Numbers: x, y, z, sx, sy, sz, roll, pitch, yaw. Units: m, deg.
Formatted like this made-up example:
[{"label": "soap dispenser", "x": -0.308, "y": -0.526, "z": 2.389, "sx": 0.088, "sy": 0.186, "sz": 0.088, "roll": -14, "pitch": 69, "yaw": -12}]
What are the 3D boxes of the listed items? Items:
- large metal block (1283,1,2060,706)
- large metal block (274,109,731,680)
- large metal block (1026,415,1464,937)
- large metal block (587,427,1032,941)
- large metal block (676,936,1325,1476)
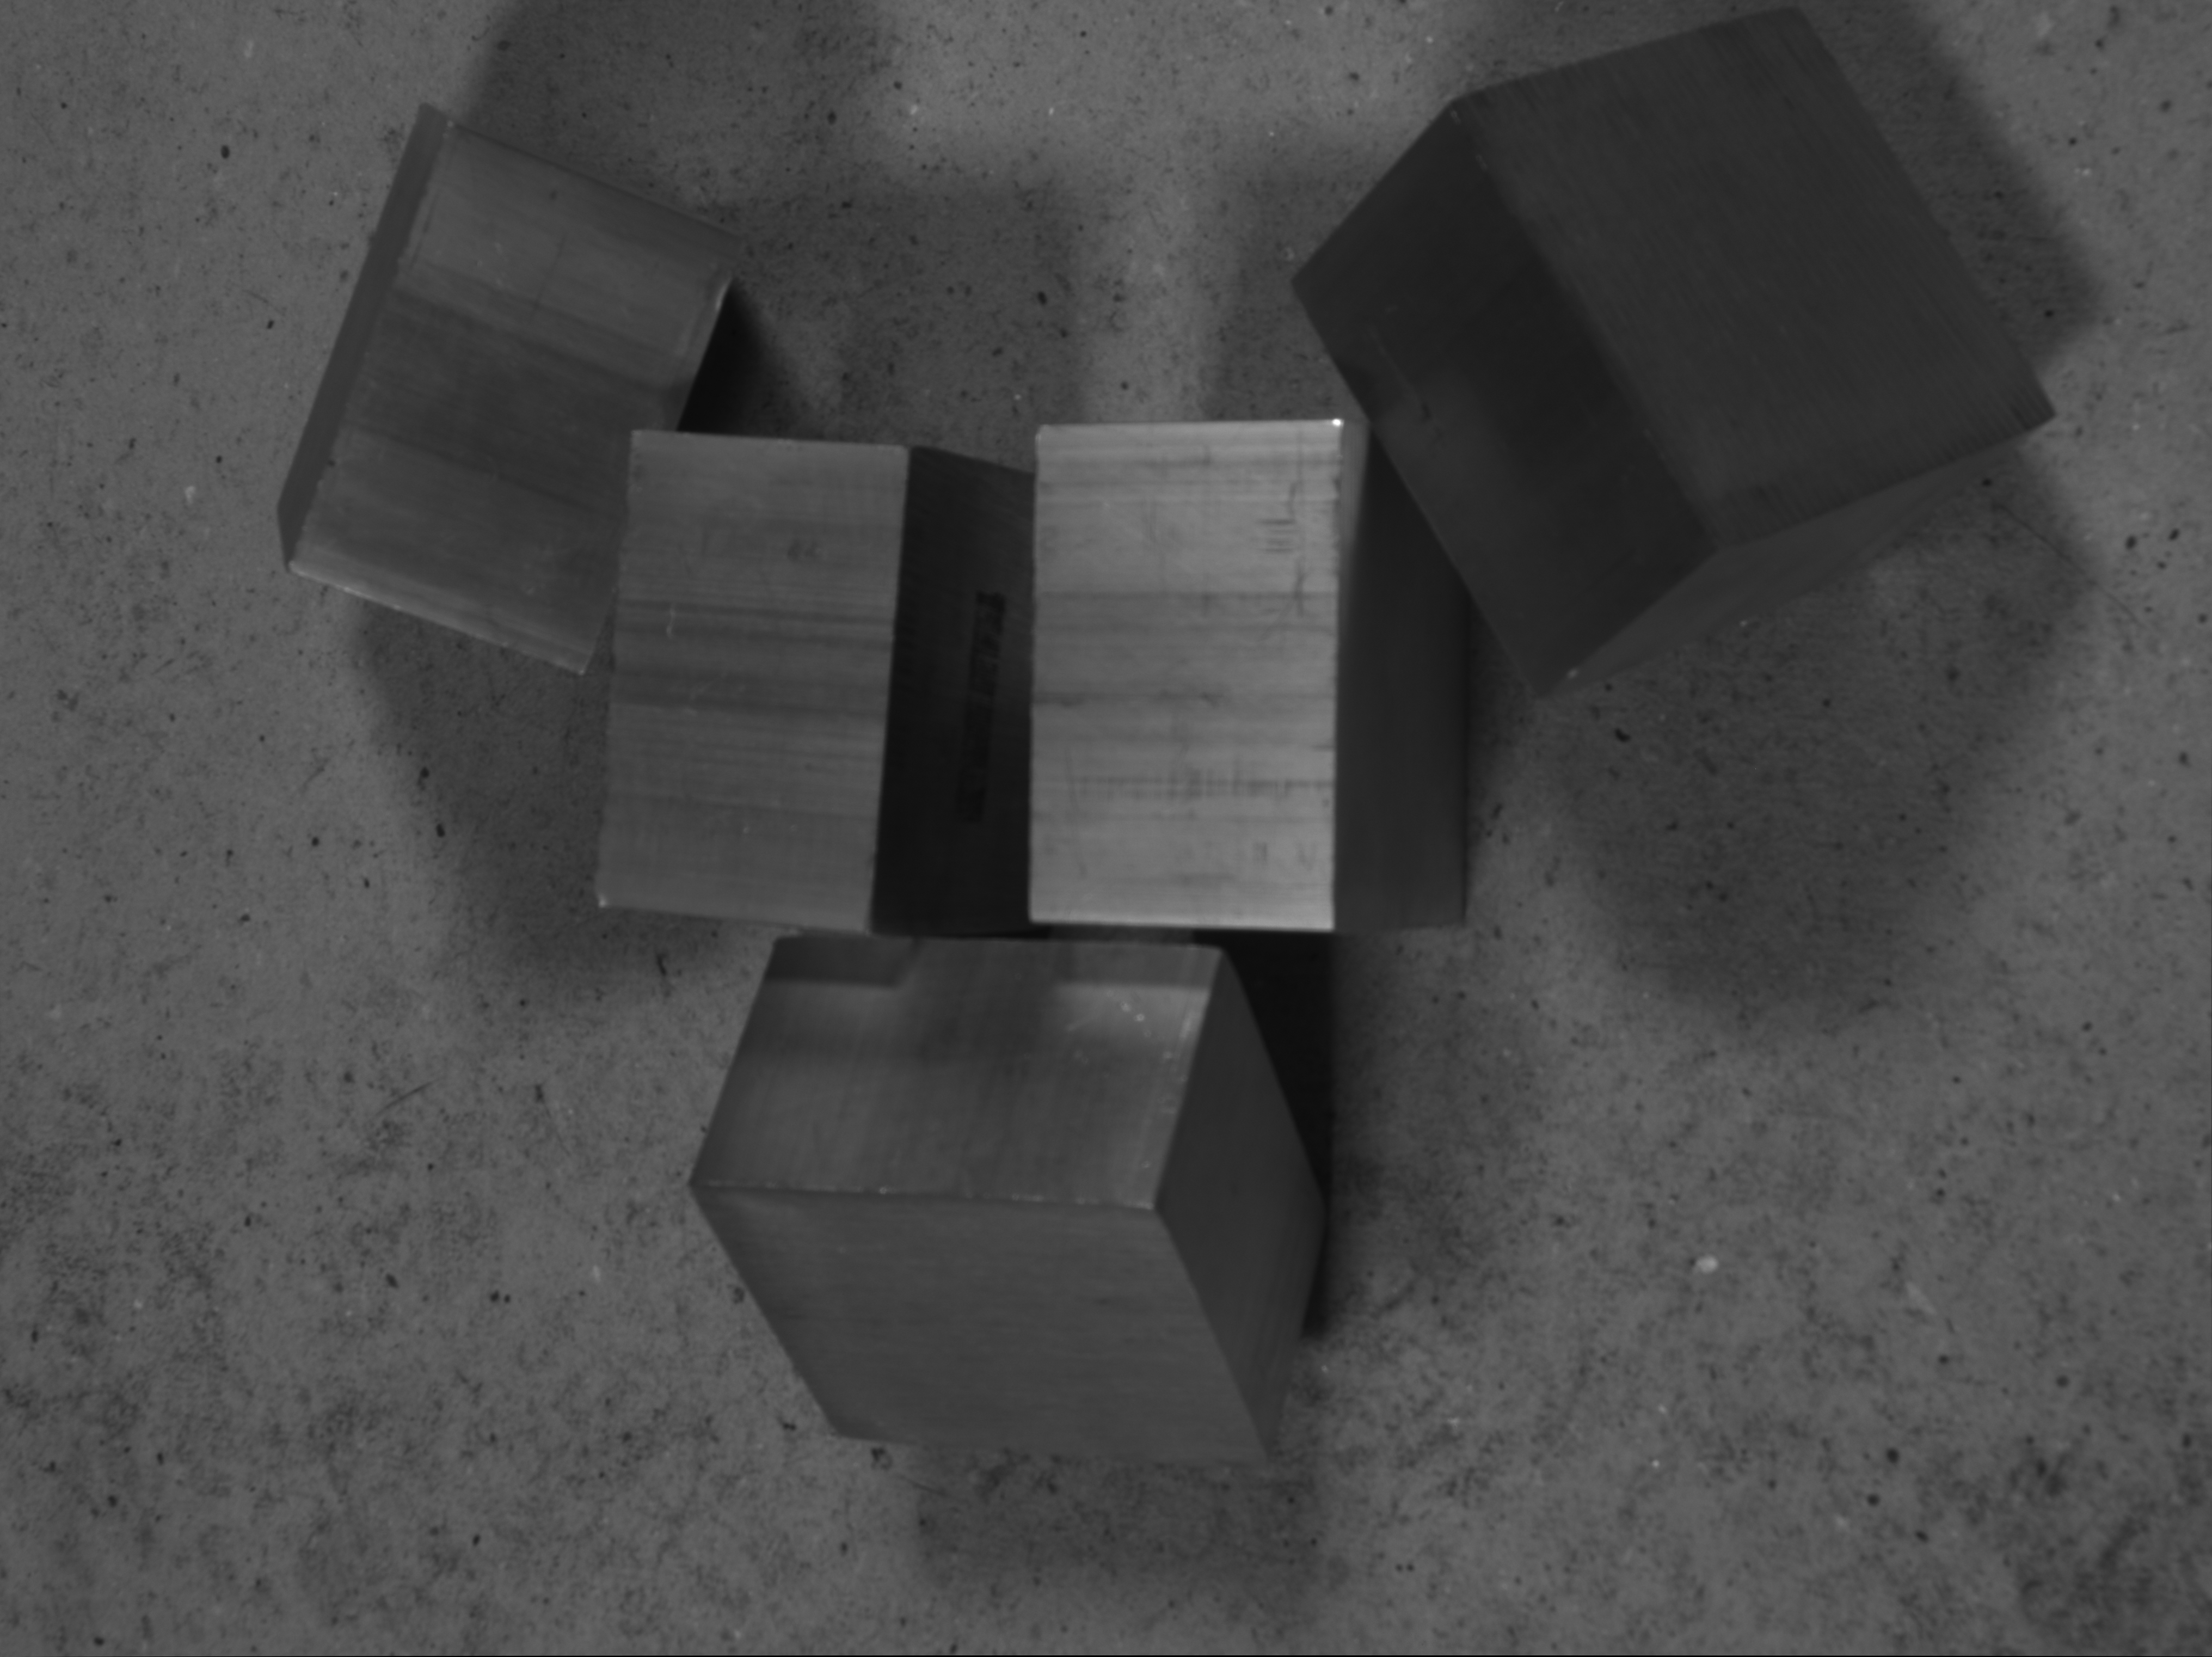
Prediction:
[{"label": "large metal block", "x": 0.089, "y": -0.076, "z": 0.577, "sx": 0.080, "sy": 0.080, "sz": 0.050, "roll": 61, "pitch": 144, "yaw": 11}, {"label": "large metal block", "x": -0.109, "y": -0.079, "z": 0.645, "sx": 0.050, "sy": 0.080, "sz": 0.080, "roll": 19, "pitch": 98, "yaw": -17}, {"label": "large metal block", "x": 0.025, "y": -0.024, "z": 0.607, "sx": 0.050, "sy": 0.080, "sz": 0.080, "roll": 1, "pitch": 90, "yaw": 20}, {"label": "large metal block", "x": -0.045, "y": -0.024, "z": 0.632, "sx": 0.050, "sy": 0.080, "sz": 0.080, "roll": 5, "pitch": 92, "yaw": 20}, {"label": "large metal block", "x": -0.015, "y": 0.063, "z": 0.614, "sx": 0.080, "sy": 0.080, "sz": 0.050, "roll": 1, "pitch": 51, "yaw": 20}]
